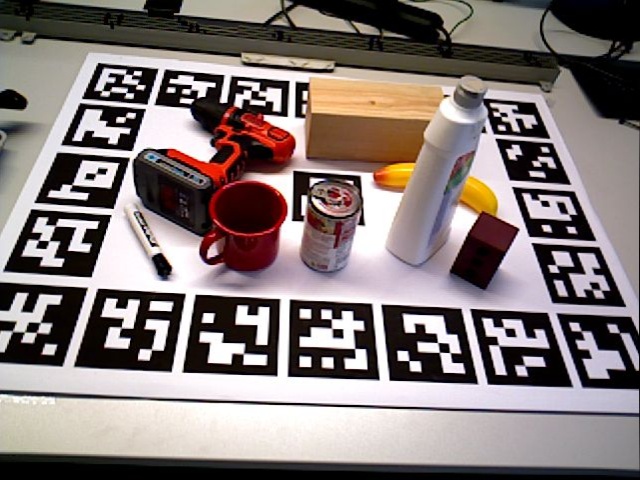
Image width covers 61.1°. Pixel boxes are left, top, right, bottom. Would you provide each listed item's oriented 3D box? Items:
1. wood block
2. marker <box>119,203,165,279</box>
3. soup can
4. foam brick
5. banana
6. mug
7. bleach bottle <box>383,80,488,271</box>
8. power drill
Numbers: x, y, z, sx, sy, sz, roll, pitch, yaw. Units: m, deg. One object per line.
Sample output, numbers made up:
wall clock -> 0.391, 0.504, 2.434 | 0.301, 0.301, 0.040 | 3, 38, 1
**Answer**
wood block -> 0.081, -0.173, 0.812 | 0.205, 0.093, 0.088 | 4, 51, -6
marker -> -0.219, 0.001, 0.670 | 0.019, 0.020, 0.120 | -22, 58, -22
soup can -> 0.008, -0.020, 0.655 | 0.067, 0.104, 0.067 | 6, 45, -7
foam brick -> 0.207, 0.020, 0.677 | 0.053, 0.080, 0.050 | 30, 50, 18
banana -> 0.159, -0.086, 0.779 | 0.197, 0.039, 0.073 | 18, 64, 3
mug -> -0.101, -0.015, 0.654 | 0.093, 0.083, 0.115 | 40, 59, 20
bleach bottle -> 0.140, -0.079, 0.632 | 0.068, 0.257, 0.100 | 27, 50, 14
power drill -> -0.152, -0.117, 0.757 | 0.184, 0.059, 0.182 | 28, 51, 11
